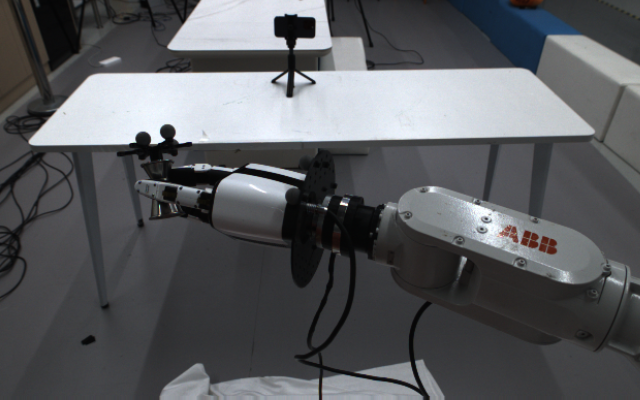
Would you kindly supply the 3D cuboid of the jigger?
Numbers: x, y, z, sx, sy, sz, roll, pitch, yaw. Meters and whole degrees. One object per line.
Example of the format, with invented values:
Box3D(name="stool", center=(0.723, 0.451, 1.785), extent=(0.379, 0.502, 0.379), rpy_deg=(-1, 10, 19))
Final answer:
Box3D(name="jigger", center=(-0.192, -0.012, 0.596), extent=(0.043, 0.071, 0.043), rpy_deg=(-12, -3, -1))
